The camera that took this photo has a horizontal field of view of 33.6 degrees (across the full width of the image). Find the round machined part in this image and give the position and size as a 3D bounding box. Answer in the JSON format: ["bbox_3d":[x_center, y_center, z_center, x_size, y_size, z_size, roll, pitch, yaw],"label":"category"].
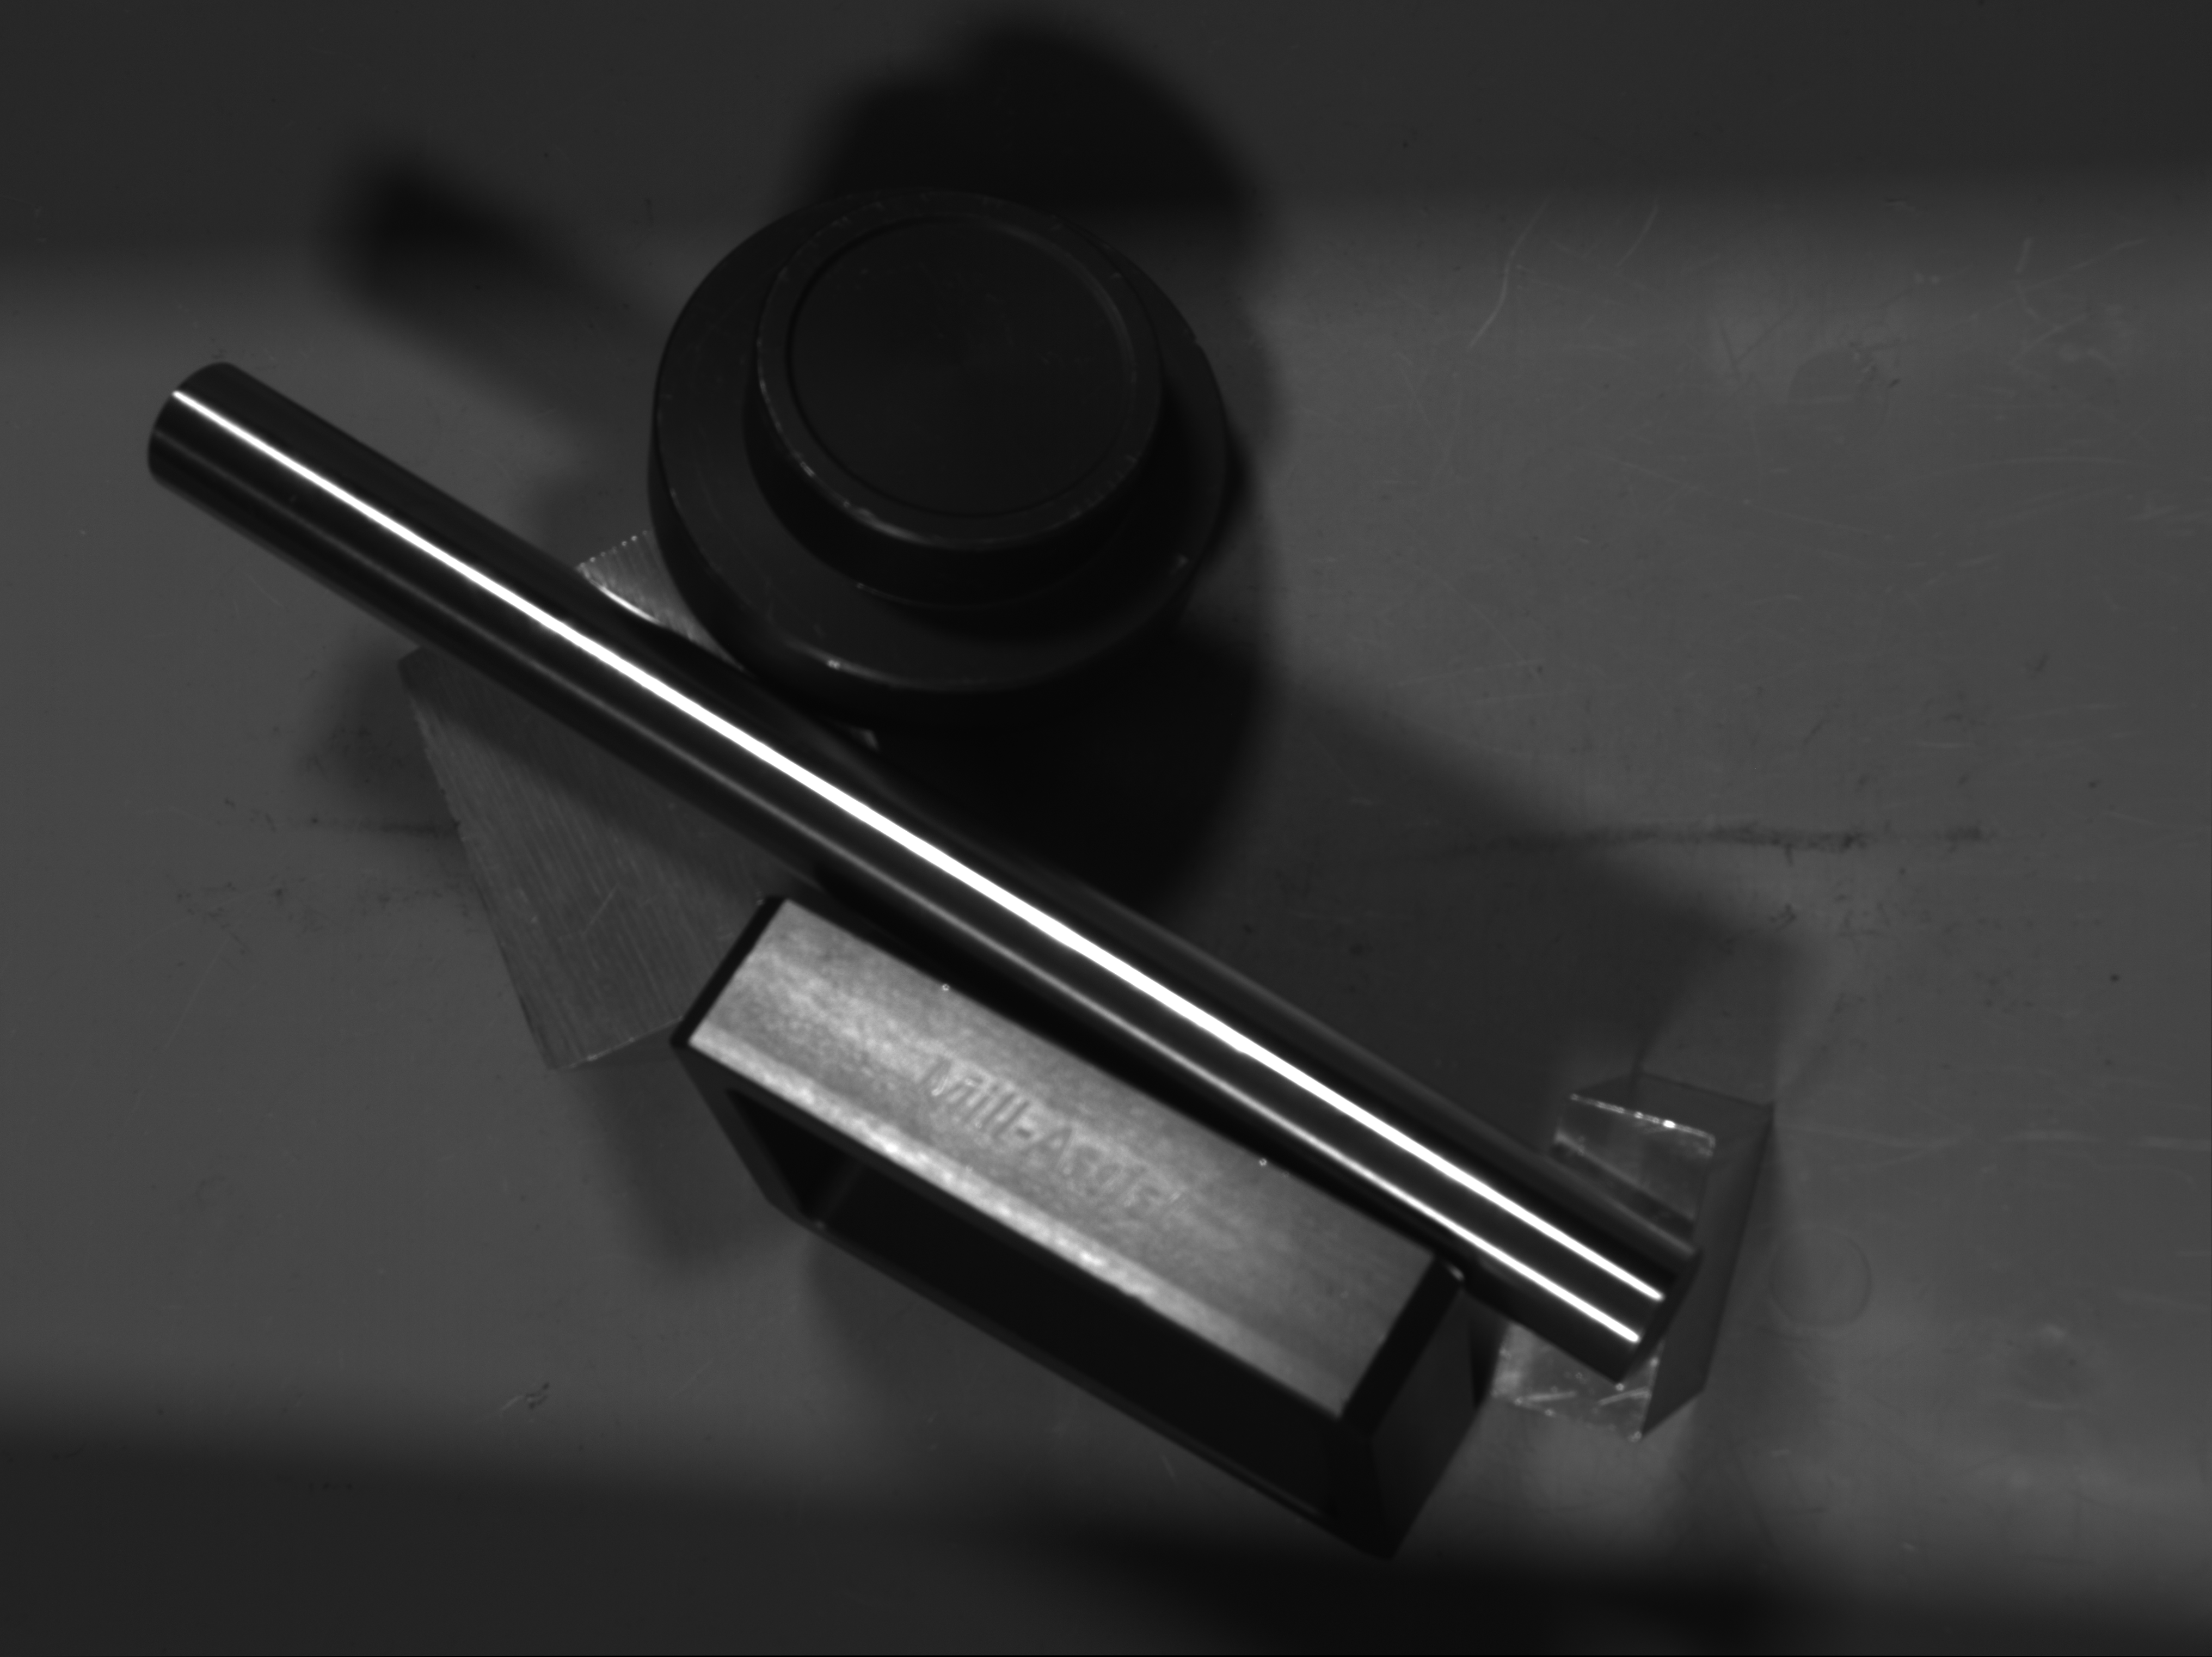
[{"bbox_3d":[-0.028,-0.068,0.617,0.098,0.042,0.098,4,65,-9],"label":"round machined part"}]

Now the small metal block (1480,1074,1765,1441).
[{"bbox_3d":[0.085,0.069,0.599,0.025,0.050,0.050,15,95,19],"label":"small metal block"}]

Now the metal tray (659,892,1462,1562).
[{"bbox_3d":[-0.005,0.067,0.607,0.130,0.090,0.030,28,71,17],"label":"metal tray"}]

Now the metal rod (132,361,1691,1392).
[{"bbox_3d":[-0.040,0.002,0.603,0.300,0.025,0.025,31,100,17],"label":"metal rod"}]

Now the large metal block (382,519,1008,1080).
[{"bbox_3d":[-0.071,-0.008,0.655,0.080,0.050,0.080,-24,82,18],"label":"large metal block"}]
